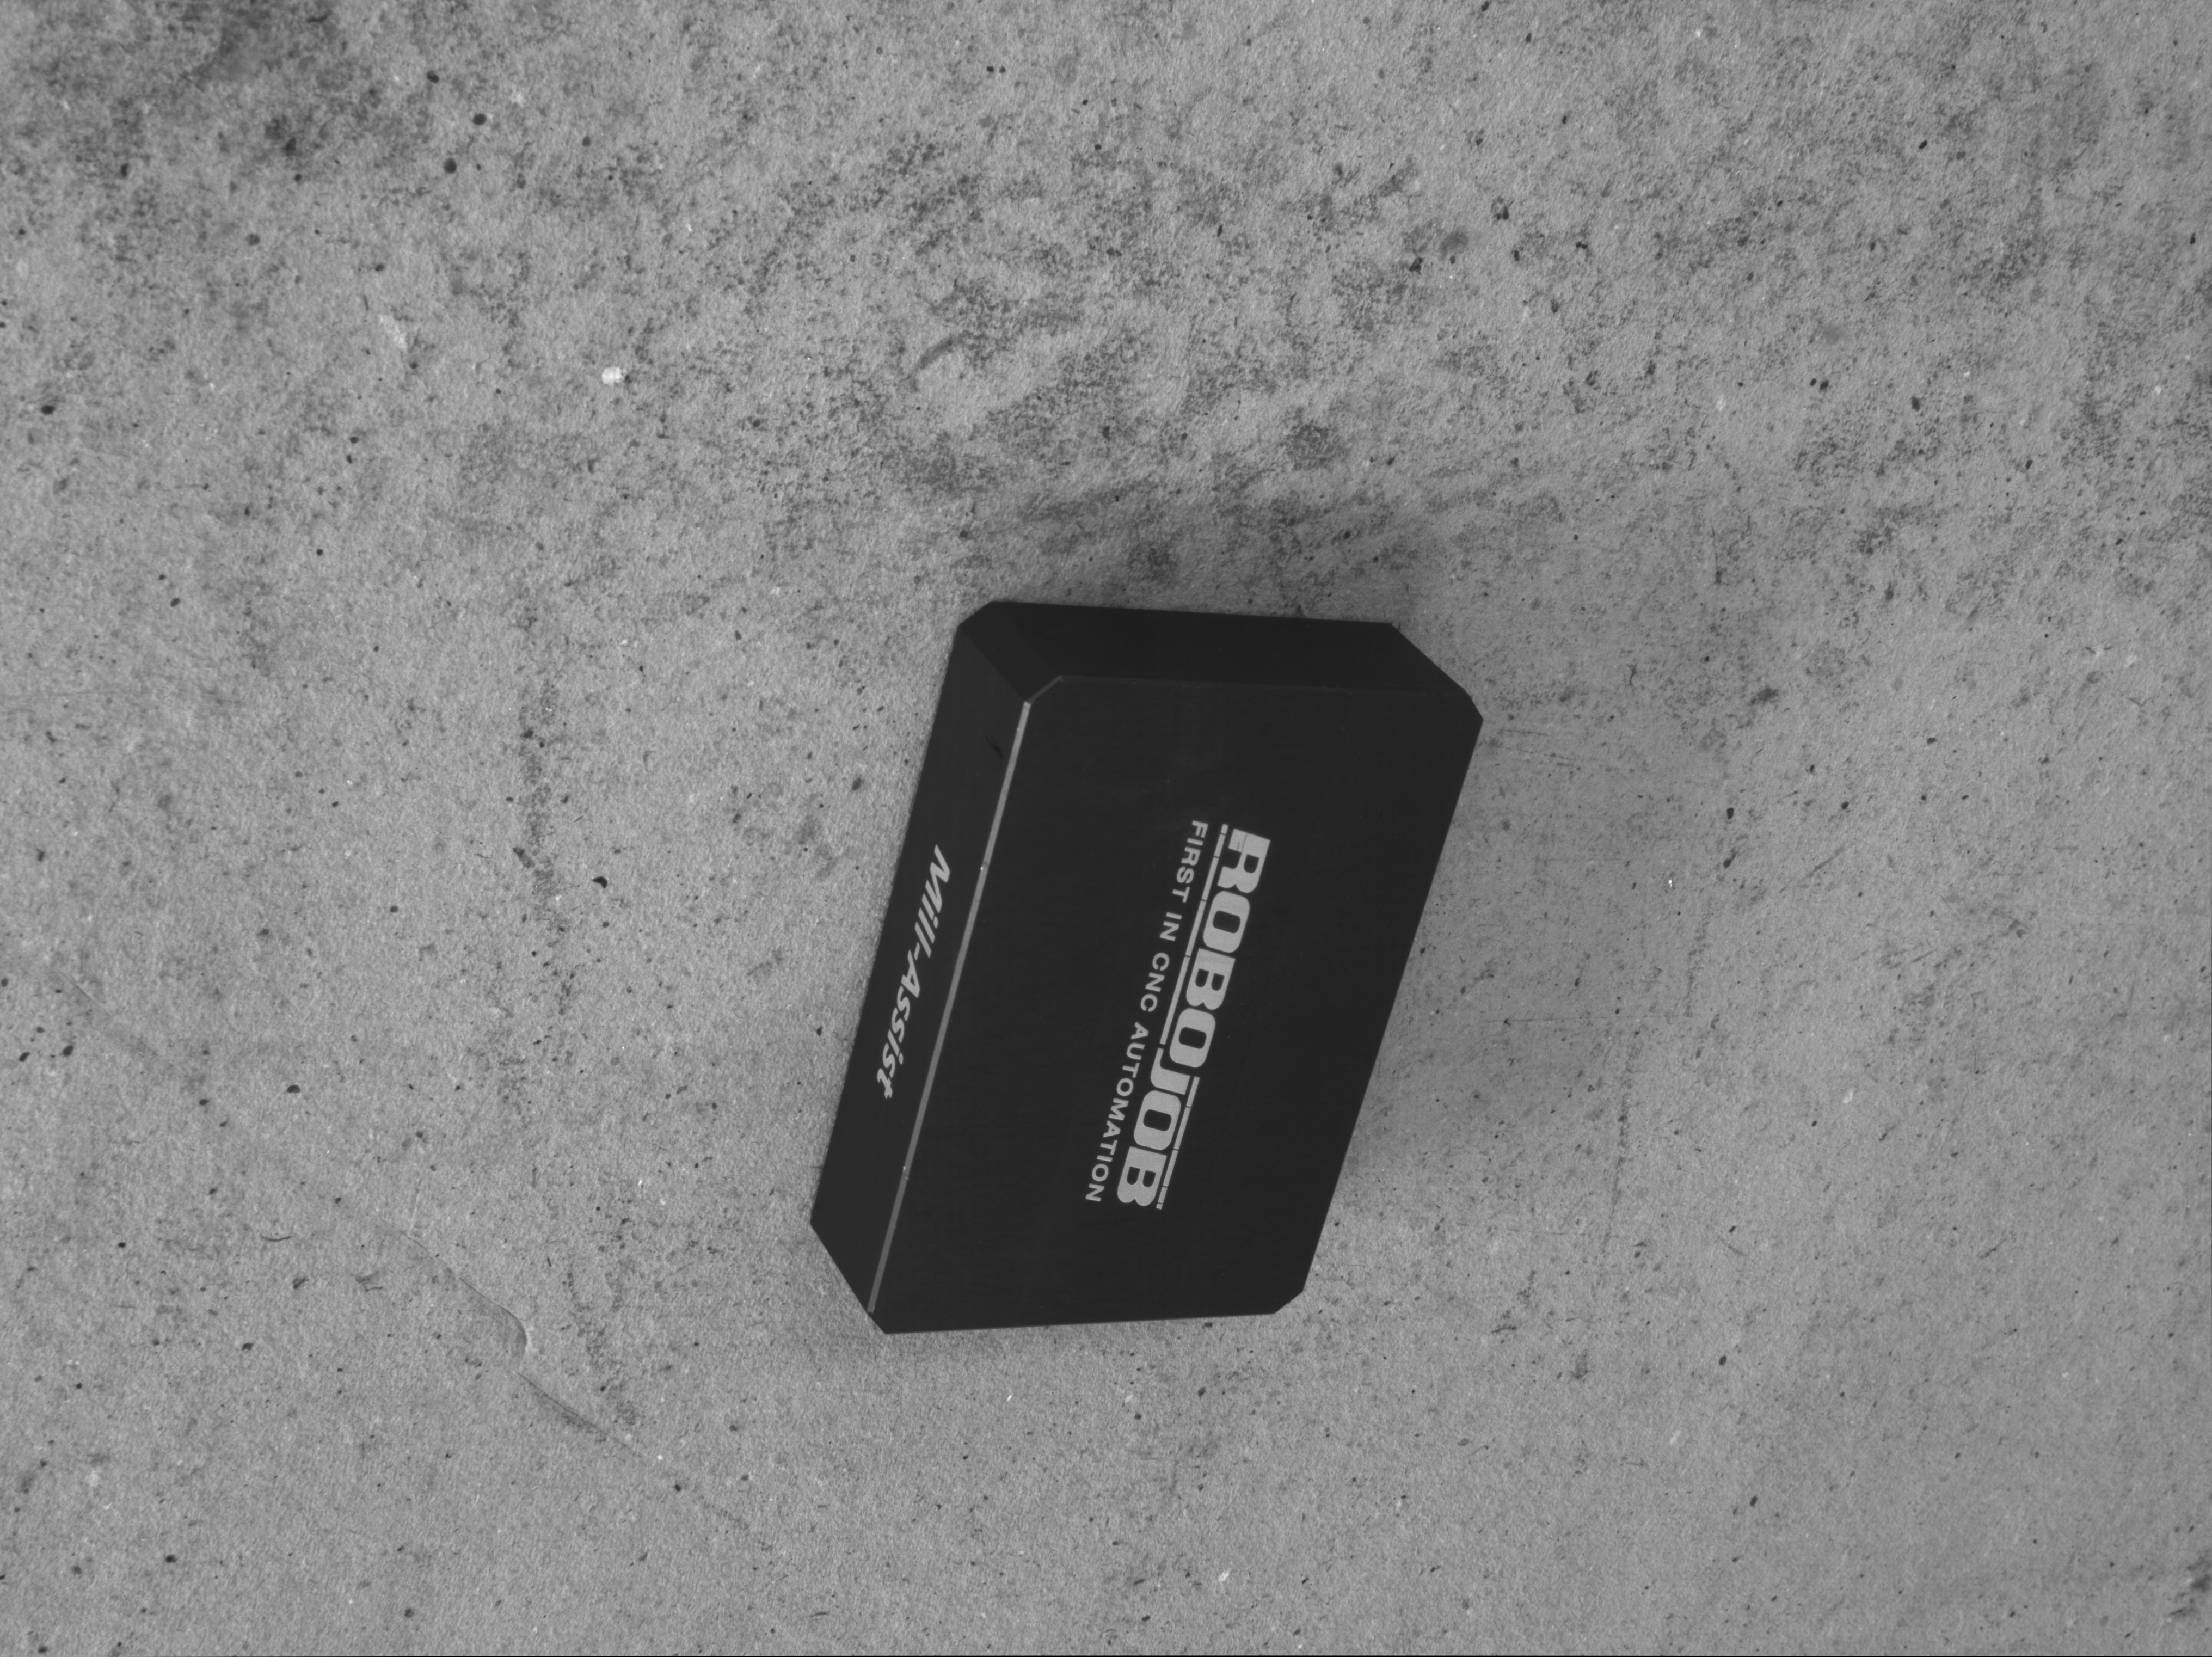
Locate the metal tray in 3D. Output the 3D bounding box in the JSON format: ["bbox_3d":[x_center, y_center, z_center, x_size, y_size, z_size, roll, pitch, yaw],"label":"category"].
[{"bbox_3d":[0.006,0.027,0.654,0.090,0.030,0.130,1,118,-29],"label":"metal tray"}]
